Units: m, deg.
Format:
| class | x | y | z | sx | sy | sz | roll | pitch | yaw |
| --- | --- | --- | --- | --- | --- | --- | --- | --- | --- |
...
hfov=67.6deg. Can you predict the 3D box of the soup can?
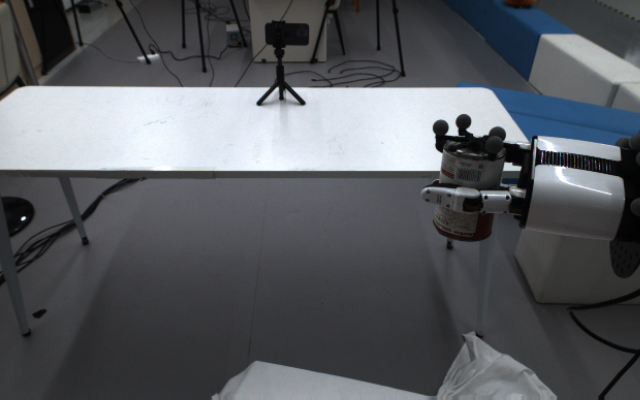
| class | x | y | z | sx | sy | sz | roll | pitch | yaw |
| --- | --- | --- | --- | --- | --- | --- | --- | --- | --- |
| soup can | 0.170 | -0.014 | 0.552 | 0.067 | 0.101 | 0.067 | 1 | 25 | 0 |
